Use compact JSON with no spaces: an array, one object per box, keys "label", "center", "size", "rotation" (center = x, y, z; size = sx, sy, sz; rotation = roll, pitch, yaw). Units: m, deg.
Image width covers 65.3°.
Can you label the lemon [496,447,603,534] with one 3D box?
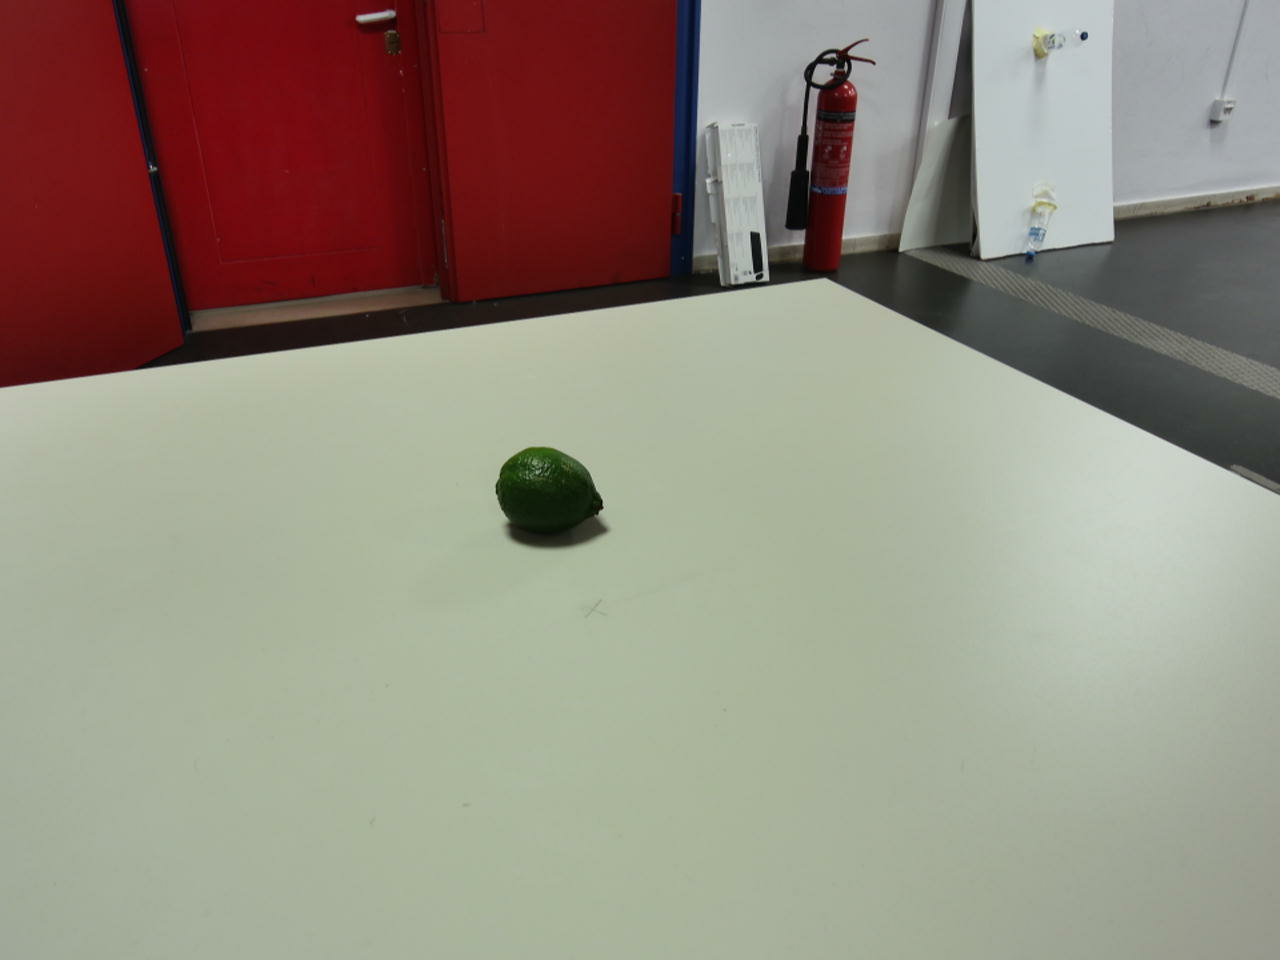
[{"label":"lemon","center":[-0.056,0.006,0.592],"size":[0.057,0.051,0.054],"rotation":[-13,29,-25]}]
